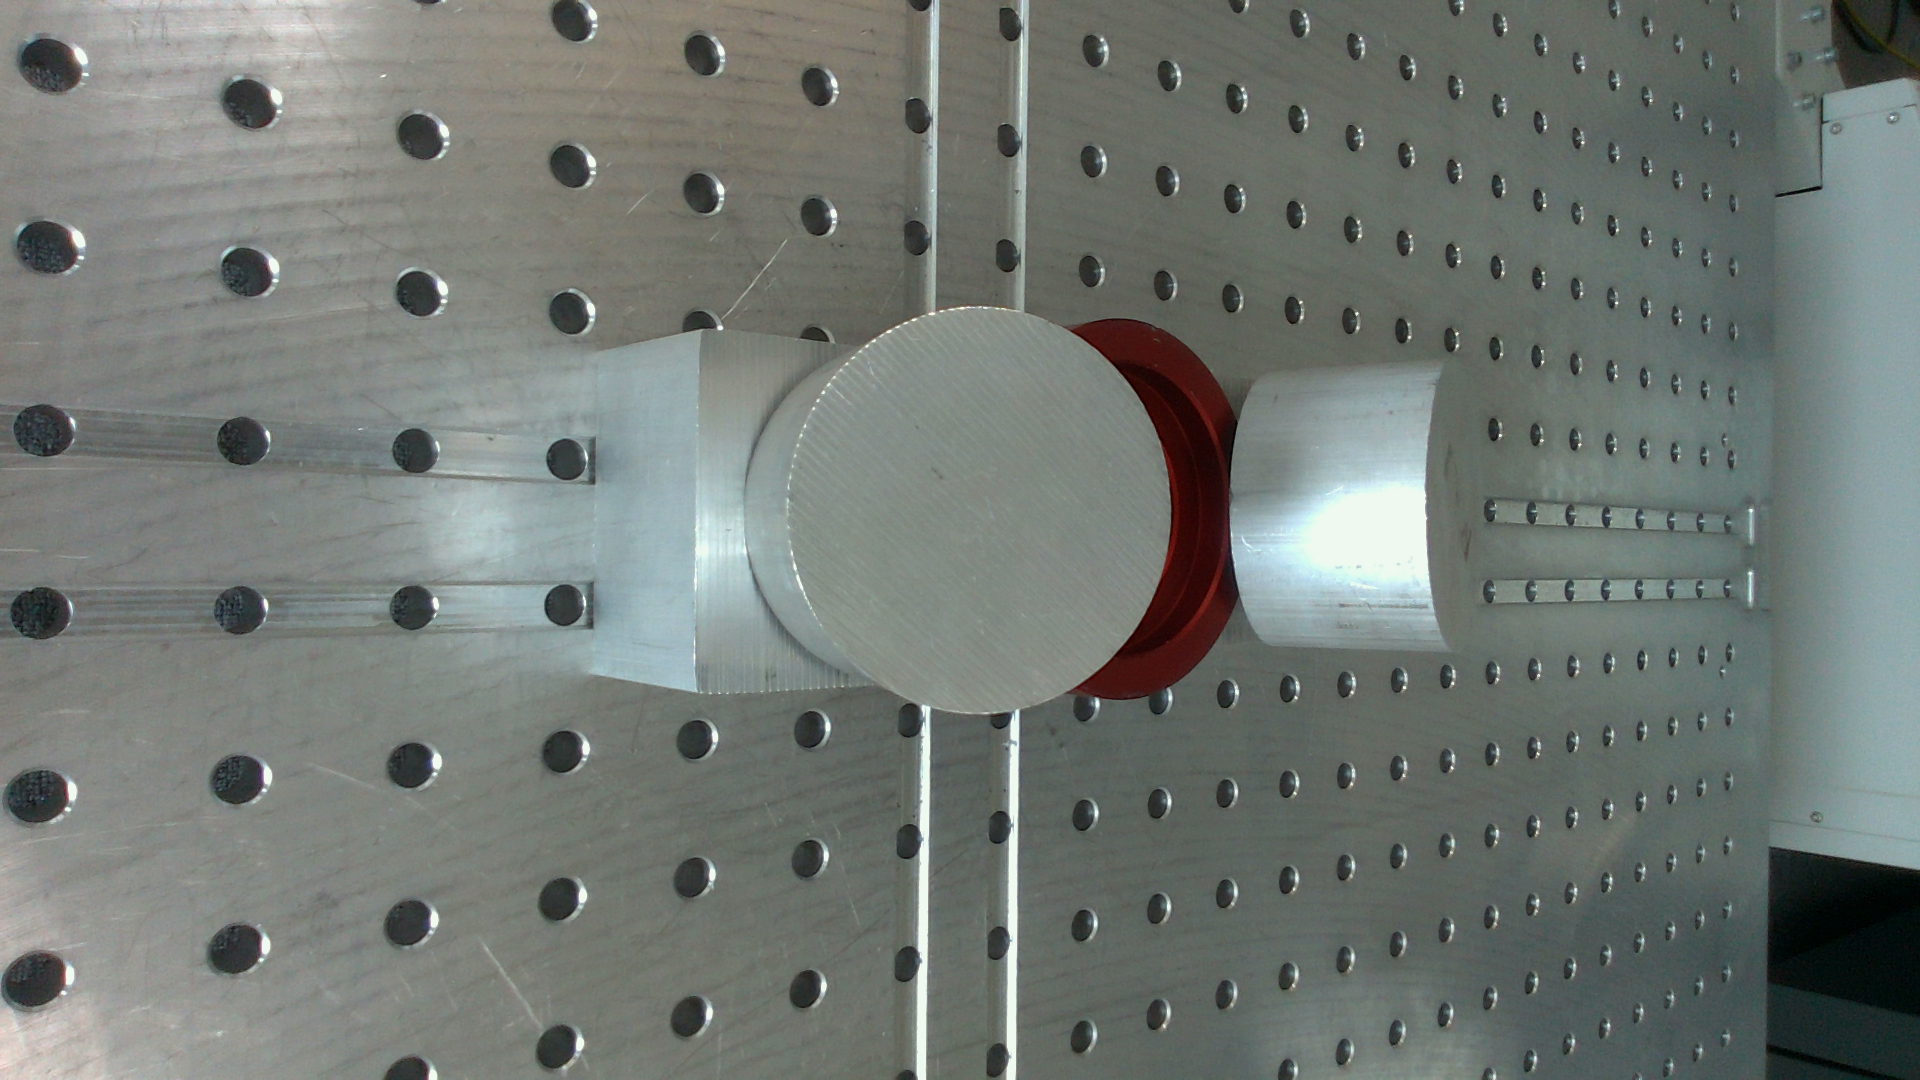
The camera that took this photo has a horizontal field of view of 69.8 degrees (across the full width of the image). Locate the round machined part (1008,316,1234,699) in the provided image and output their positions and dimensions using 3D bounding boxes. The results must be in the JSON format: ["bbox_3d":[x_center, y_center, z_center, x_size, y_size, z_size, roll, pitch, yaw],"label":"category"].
[{"bbox_3d":[0.031,-0.008,0.368,0.098,0.042,0.098,0,90,-40],"label":"round machined part"}]

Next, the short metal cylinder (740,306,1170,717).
[{"bbox_3d":[-0.003,-0.006,0.291,0.080,0.050,0.080,0,91,-19],"label":"short metal cylinder"}]

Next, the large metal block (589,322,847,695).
[{"bbox_3d":[-0.043,-0.006,0.340,0.080,0.050,0.080,1,89,-40],"label":"large metal block"}]

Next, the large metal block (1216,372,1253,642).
[{"bbox_3d":[0.072,-0.010,0.436,0.080,0.050,0.080,-1,91,-40],"label":"large metal block"}]

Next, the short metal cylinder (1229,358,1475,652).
[{"bbox_3d":[0.113,-0.009,0.389,0.080,0.050,0.080,1,89,-60],"label":"short metal cylinder"}]
